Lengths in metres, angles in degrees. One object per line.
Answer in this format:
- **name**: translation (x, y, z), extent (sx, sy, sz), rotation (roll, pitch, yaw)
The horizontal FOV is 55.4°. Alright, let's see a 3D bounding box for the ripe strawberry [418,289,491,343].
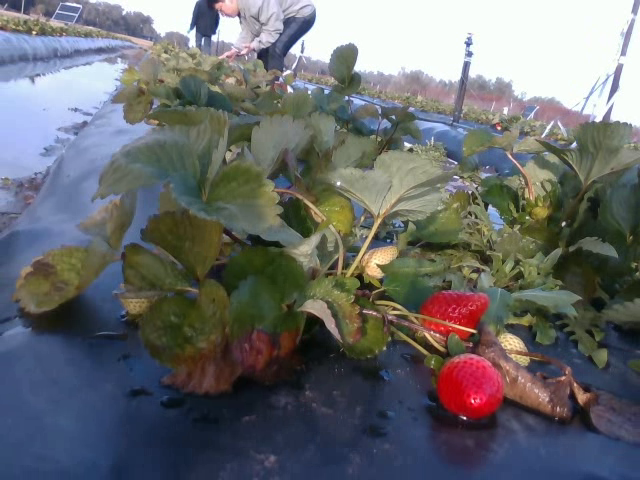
- **ripe strawberry**: translation (0.083, 0.040, 0.372), extent (0.048, 0.032, 0.039), rotation (-38, -6, 33)

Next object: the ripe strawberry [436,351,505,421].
- **ripe strawberry**: translation (0.071, 0.070, 0.287), extent (0.035, 0.030, 0.043), rotation (4, 14, 5)
